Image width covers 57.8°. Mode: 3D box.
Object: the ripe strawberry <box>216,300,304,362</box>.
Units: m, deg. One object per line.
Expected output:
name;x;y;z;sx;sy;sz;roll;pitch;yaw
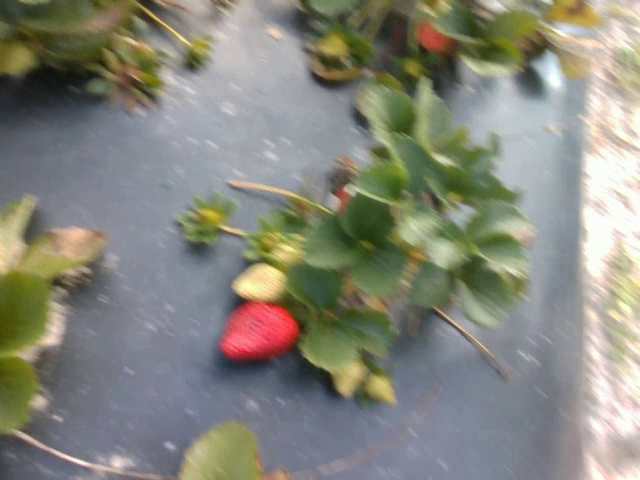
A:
ripe strawberry;-0.050;0.065;0.388;0.051;0.048;0.055;19;21;38
